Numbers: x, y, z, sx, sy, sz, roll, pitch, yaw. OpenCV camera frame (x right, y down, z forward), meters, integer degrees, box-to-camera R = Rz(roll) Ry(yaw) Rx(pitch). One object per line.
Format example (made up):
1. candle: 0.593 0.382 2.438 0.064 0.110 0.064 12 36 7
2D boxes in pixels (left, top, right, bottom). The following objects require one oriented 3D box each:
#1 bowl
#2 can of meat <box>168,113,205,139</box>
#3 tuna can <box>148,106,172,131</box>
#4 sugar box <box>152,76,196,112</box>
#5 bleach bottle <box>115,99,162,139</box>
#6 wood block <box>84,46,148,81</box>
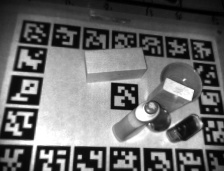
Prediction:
1. bowl: 0.265 -0.017 0.804 0.162 0.055 0.161 2 69 -5
2. can of meat: 0.248 0.136 0.732 0.102 0.084 0.057 -26 72 -19
3. tuna can: 0.161 0.113 0.745 0.086 0.034 0.085 3 72 -8
4. sugar box: 0.193 0.032 0.705 0.093 0.176 0.045 22 70 4
5. bleach bottle: 0.076 0.092 0.625 0.103 0.251 0.067 -22 73 -15
6. wood block: 0.011 -0.080 0.768 0.207 0.090 0.090 -5 75 -13
